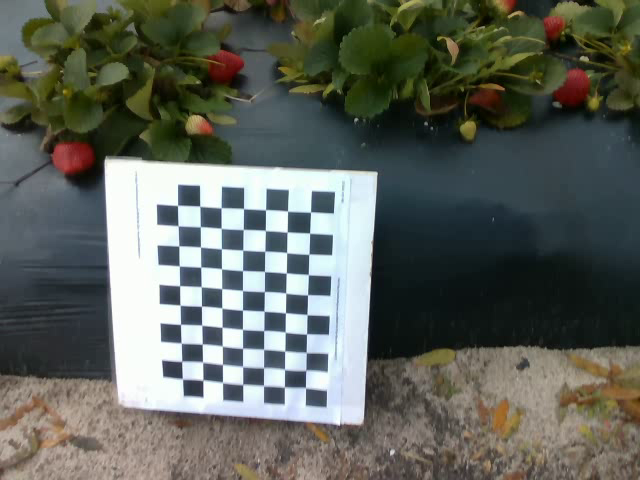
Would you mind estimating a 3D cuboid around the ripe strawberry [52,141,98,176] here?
[{"bbox_3d":[-0.217,-0.080,0.693,0.036,0.037,0.046,37,16,-36],"label":"ripe strawberry"}]
